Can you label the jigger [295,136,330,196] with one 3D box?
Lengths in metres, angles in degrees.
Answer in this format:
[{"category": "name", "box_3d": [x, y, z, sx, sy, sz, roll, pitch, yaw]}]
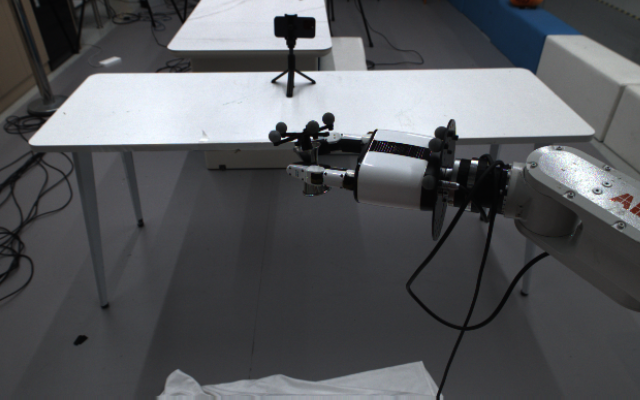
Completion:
[{"category": "jigger", "box_3d": [-0.011, -0.045, 0.692, 0.043, 0.071, 0.043, -11, 24, 5]}]
